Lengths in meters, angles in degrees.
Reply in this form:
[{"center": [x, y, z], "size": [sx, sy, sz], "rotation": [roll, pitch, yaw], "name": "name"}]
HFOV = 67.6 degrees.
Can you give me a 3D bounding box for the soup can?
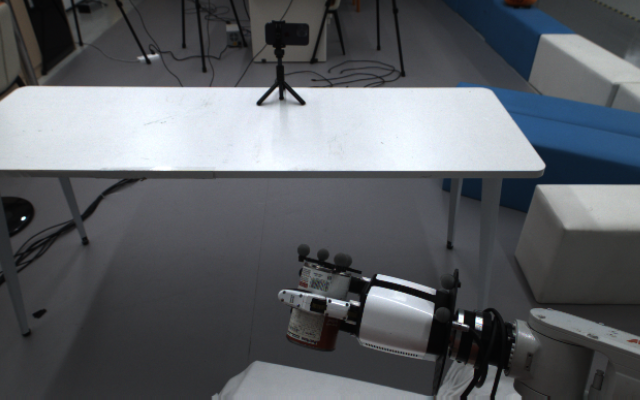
[{"center": [0.001, 0.140, 0.639], "size": [0.067, 0.101, 0.067], "rotation": [13, -6, 1], "name": "soup can"}]
